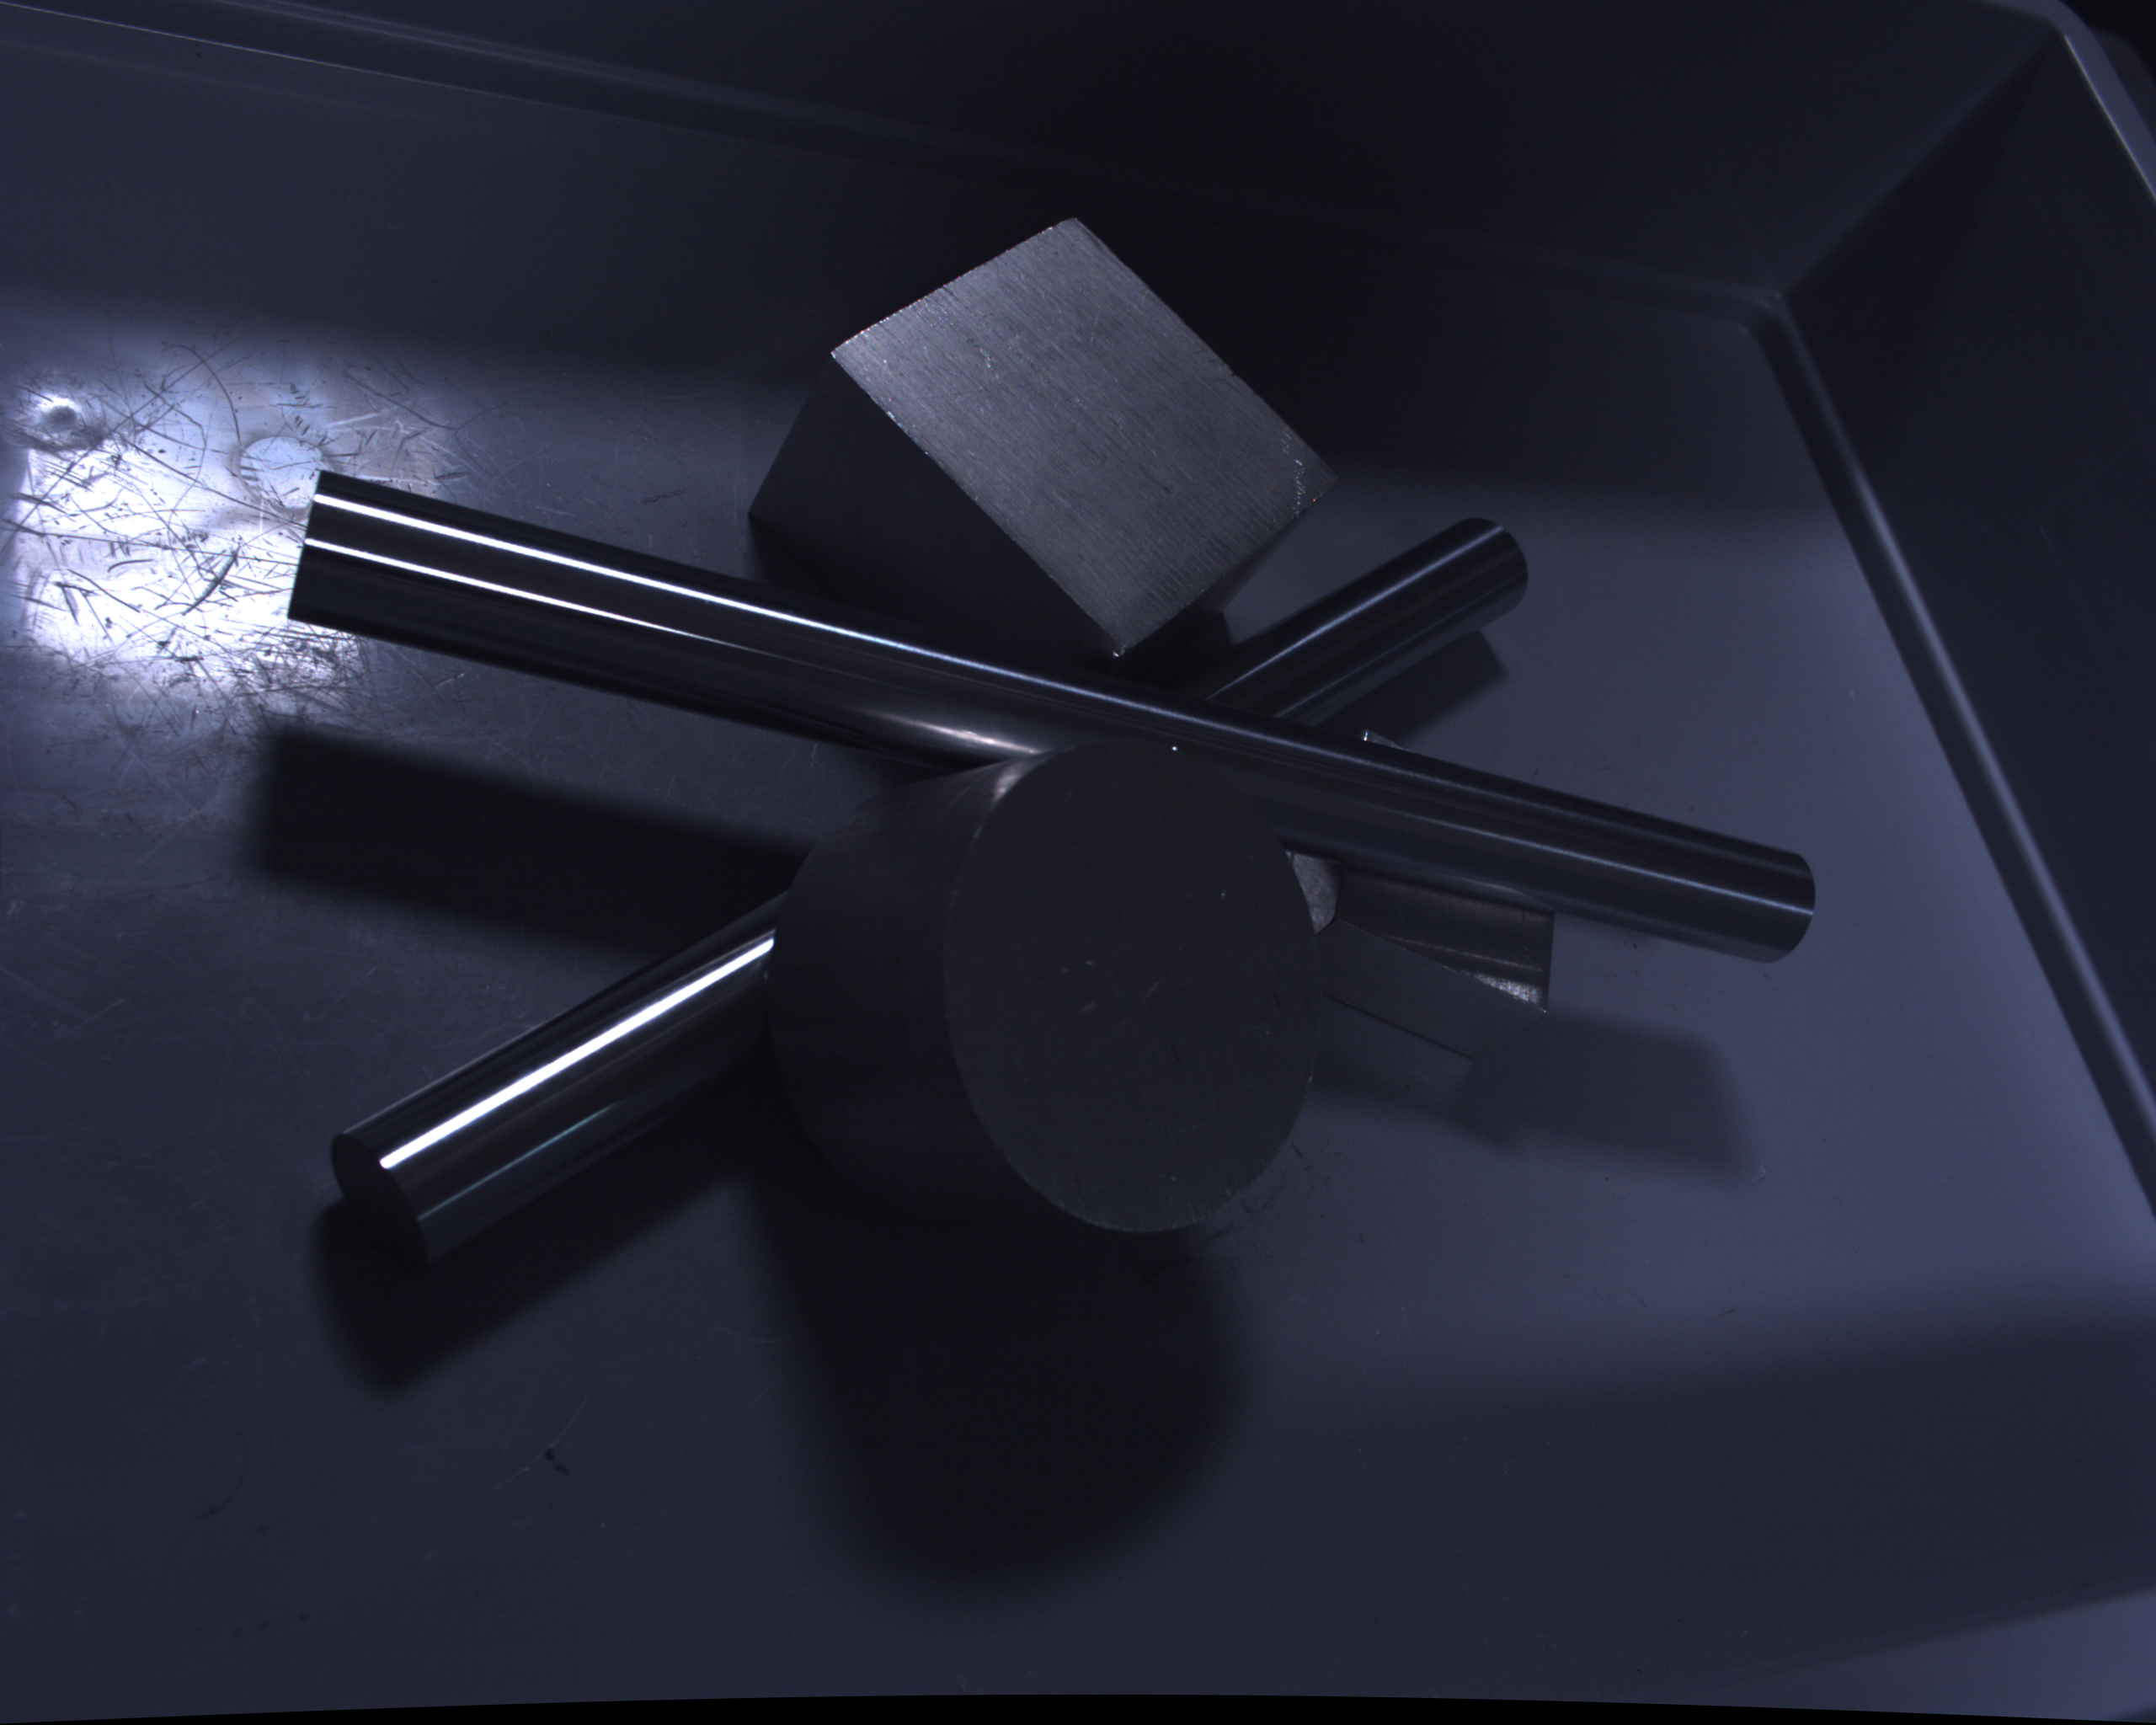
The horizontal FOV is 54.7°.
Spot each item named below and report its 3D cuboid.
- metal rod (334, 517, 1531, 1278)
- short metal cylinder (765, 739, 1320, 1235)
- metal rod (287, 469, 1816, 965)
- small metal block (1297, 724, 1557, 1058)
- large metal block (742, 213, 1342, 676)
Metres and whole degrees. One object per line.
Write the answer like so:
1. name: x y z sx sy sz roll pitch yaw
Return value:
1. metal rod: -0.004 -0.010 0.408 0.302 0.025 0.025 -31 79 -38
2. short metal cylinder: -0.005 0.022 0.355 0.081 0.050 0.080 7 79 -39
3. metal rod: 0.012 -0.021 0.392 0.302 0.025 0.025 13 57 -22
4. small metal block: 0.073 0.006 0.439 0.050 0.025 0.050 24 53 -14
5. large metal block: -0.007 -0.076 0.431 0.080 0.050 0.080 46 51 3
